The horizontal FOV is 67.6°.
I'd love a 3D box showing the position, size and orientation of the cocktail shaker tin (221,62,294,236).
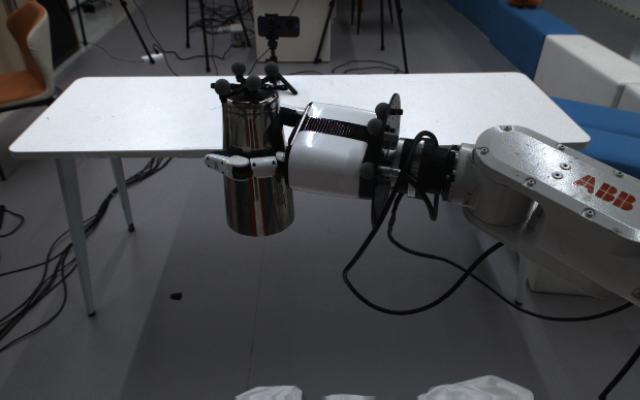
[{"bbox_3d":[-0.078,-0.051,0.601,0.093,0.170,0.093,0,33,0],"label":"cocktail shaker tin"}]
